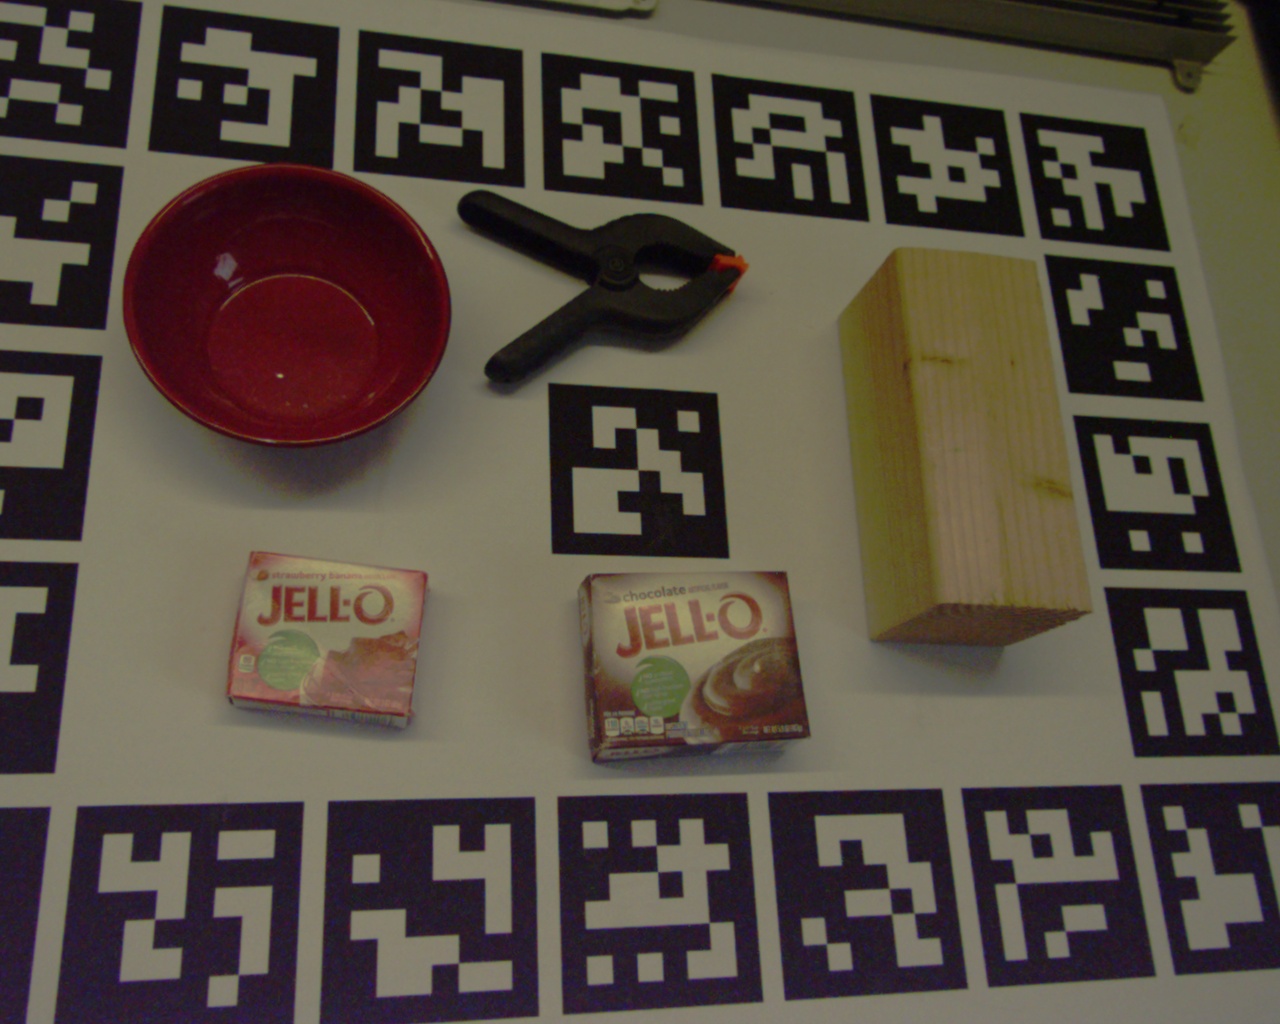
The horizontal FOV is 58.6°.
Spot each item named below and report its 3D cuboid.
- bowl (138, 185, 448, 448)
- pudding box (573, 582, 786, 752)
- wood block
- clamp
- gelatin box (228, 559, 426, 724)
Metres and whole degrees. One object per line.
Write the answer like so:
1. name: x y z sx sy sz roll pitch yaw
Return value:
1. bowl: -0.191 -0.098 0.638 0.160 0.055 0.162 4 74 -14
2. pudding box: 0.020 0.086 0.630 0.113 0.039 0.090 1 76 -11
3. wood block: 0.175 -0.027 0.677 0.089 0.091 0.207 5 71 -14
4. clamp: -0.039 -0.129 0.696 0.164 0.037 0.122 -8 74 -18
5. gelatin box: -0.162 0.068 0.595 0.089 0.030 0.073 10 72 -11
